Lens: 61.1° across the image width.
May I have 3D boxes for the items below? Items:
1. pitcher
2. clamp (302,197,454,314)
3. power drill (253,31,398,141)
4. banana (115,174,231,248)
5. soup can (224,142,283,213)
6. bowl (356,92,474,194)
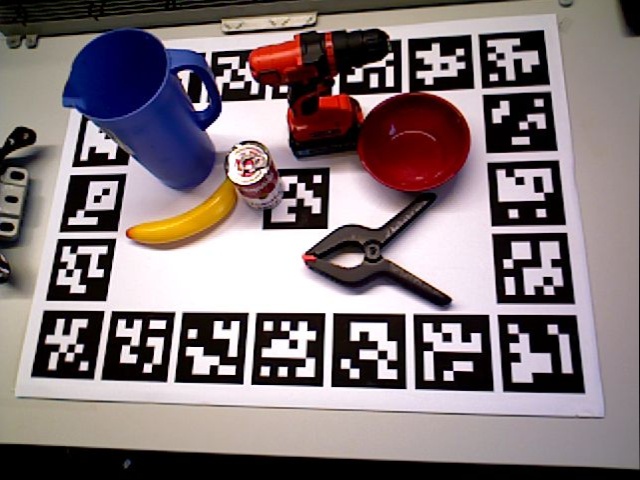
[{"bbox_3d":[-0.221,-0.172,0.750,0.188,0.245,0.132,-24,67,0],"label":"pitcher"},{"bbox_3d":[0.073,0.024,0.744,0.203,0.037,0.164,-4,76,8],"label":"clamp"},{"bbox_3d":[0.016,-0.209,0.732,0.184,0.188,0.057,-6,71,6],"label":"power drill"},{"bbox_3d":[-0.213,-0.031,0.816,0.196,0.039,0.074,-25,62,-1],"label":"banana"},{"bbox_3d":[-0.094,-0.093,0.781,0.068,0.103,0.067,-4,63,7],"label":"soup can"},{"bbox_3d":[0.134,-0.129,0.778,0.162,0.055,0.160,-3,74,9],"label":"bowl"}]
